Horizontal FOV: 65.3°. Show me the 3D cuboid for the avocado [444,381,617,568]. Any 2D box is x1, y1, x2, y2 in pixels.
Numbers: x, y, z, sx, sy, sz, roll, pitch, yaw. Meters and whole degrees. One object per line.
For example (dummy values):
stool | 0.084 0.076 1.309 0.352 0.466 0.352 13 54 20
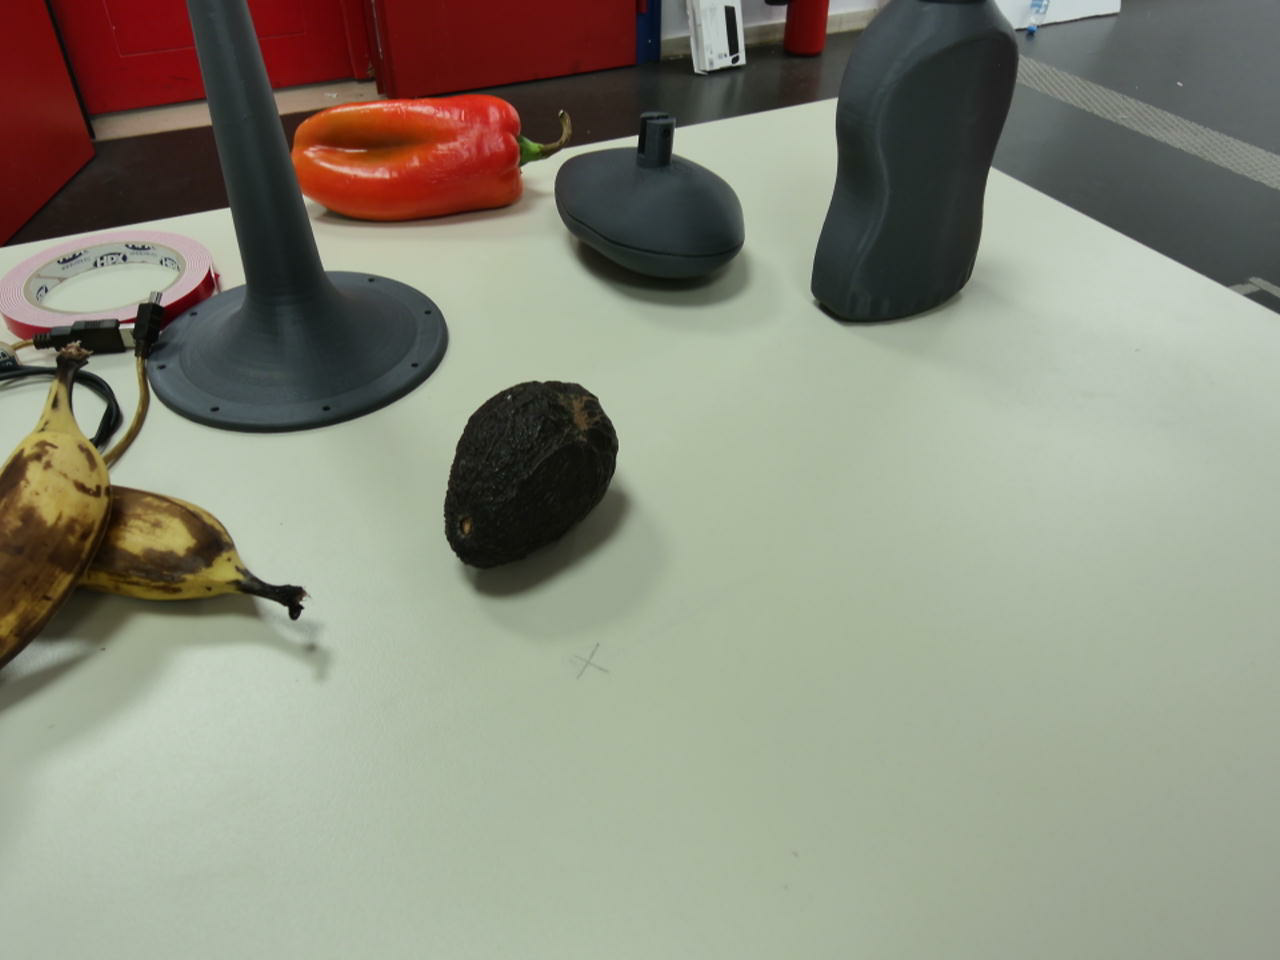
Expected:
avocado | -0.048 -0.006 0.414 0.062 0.062 0.092 27 45 30
